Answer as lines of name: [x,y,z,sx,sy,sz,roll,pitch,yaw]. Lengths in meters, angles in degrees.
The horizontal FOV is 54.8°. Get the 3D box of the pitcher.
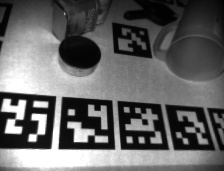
pitcher: [0.227,-0.132,0.557,0.187,0.134,0.243,14,50,15]

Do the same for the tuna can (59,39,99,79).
tuna can: [-0.074,-0.058,0.476,0.086,0.033,0.085,8,63,-15]

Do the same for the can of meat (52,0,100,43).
can of meat: [-0.082,-0.148,0.478,0.084,0.101,0.057,-30,76,-25]

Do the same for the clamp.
clamp: [0.101,-0.215,0.629,0.166,0.036,0.121,11,57,-17]

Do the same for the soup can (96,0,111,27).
soup can: [-0.039,-0.201,0.526,0.068,0.102,0.067,6,63,-12]
